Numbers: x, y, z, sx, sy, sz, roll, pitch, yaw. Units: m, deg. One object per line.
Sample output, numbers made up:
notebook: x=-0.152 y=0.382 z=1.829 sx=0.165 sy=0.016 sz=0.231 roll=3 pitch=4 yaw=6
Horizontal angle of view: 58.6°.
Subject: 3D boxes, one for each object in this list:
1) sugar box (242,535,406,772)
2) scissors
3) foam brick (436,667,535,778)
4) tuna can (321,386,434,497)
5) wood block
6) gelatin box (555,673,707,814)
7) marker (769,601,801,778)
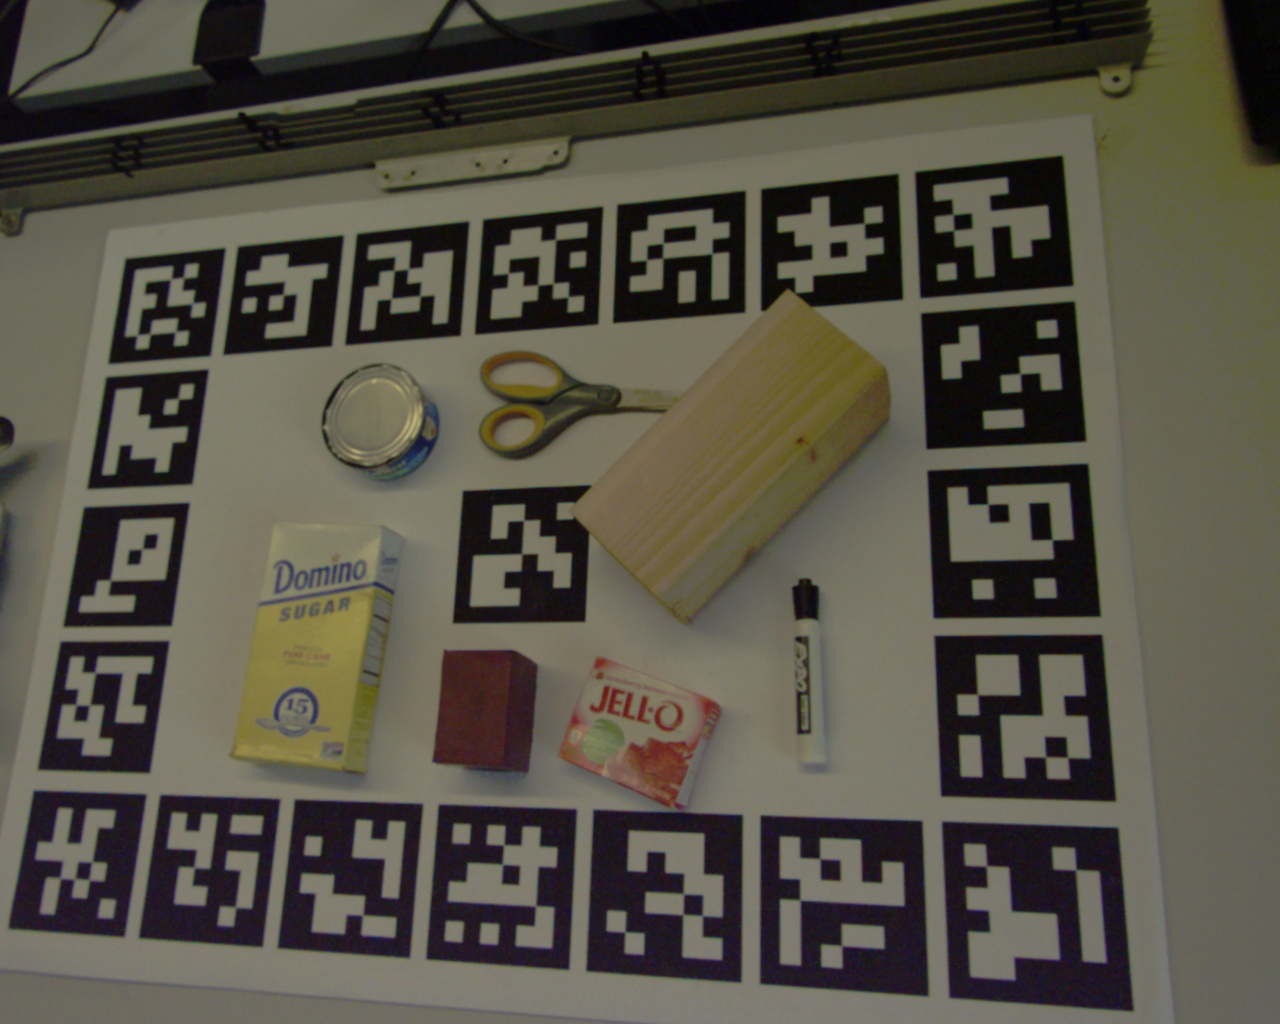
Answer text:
sugar box: x=-0.244 y=0.108 z=0.885 sx=0.093 sy=0.045 sz=0.176 roll=3 pitch=77 yaw=16
scissors: x=-0.040 y=-0.065 z=0.887 sx=0.205 sy=0.016 sz=0.088 roll=6 pitch=78 yaw=19
foam brick: x=-0.111 y=0.153 z=0.826 sx=0.053 sy=0.051 sz=0.078 roll=0 pitch=77 yaw=16
tuna can: x=-0.211 y=-0.056 z=0.921 sx=0.086 sy=0.033 sz=0.086 roll=-4 pitch=75 yaw=15
wood block: x=0.063 y=-0.015 z=0.808 sx=0.206 sy=0.090 sz=0.091 roll=-45 pitch=68 yaw=0
gelatin box: x=-0.007 y=0.163 z=0.809 sx=0.090 sy=0.030 sz=0.073 roll=18 pitch=82 yaw=20
marker: x=0.101 y=0.123 z=0.793 sx=0.020 sy=0.019 sz=0.121 roll=0 pitch=78 yaw=15
